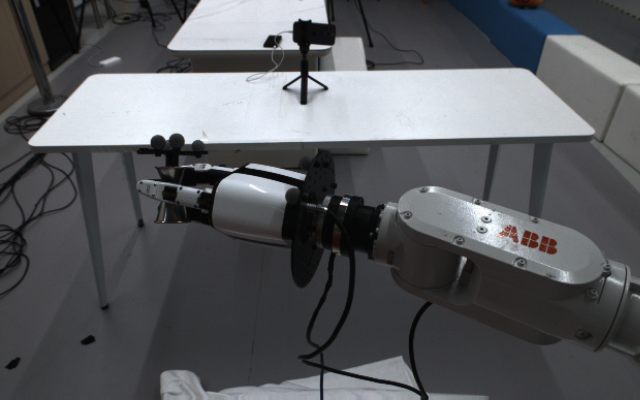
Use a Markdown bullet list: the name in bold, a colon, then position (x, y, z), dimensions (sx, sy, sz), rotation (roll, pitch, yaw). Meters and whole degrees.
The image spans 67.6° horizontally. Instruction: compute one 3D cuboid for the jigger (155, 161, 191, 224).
- **jigger**: position (-0.179, -0.007, 0.594), dimensions (0.043, 0.071, 0.043), rotation (0, 3, 0)
